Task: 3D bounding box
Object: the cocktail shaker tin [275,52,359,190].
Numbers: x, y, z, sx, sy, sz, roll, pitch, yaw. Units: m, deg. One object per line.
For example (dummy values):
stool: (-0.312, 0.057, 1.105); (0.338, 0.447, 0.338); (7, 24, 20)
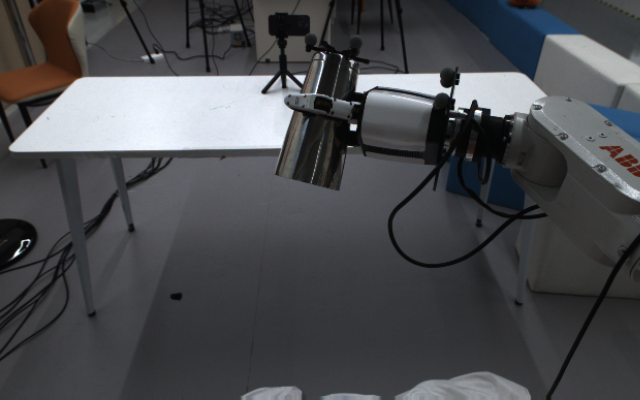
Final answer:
cocktail shaker tin: (0.001, -0.107, 0.655); (0.093, 0.170, 0.093); (14, 2, 0)
